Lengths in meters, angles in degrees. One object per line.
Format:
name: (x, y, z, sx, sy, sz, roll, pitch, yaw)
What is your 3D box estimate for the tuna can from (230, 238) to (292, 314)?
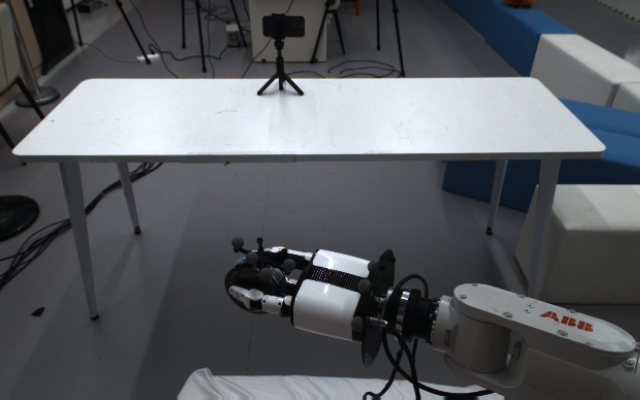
tuna can: (-0.091, 0.123, 0.703, 0.085, 0.085, 0.034, 13, 30, 15)
